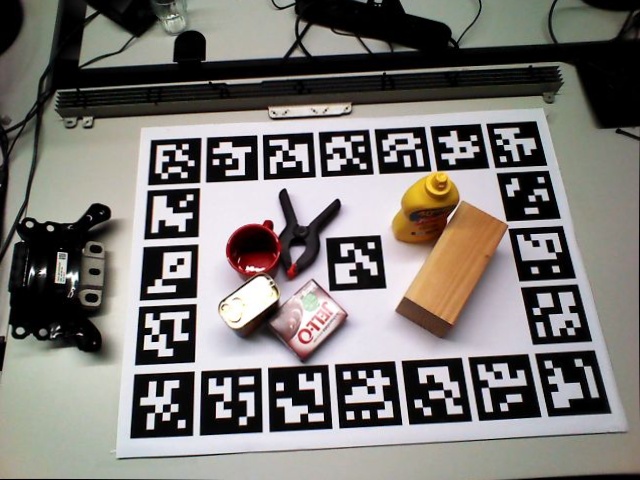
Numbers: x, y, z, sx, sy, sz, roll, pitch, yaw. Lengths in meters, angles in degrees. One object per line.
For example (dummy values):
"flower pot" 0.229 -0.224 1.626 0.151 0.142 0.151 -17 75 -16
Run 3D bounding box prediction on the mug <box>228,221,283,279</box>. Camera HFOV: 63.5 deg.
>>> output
"mug" -0.104 0.018 0.911 0.093 0.082 0.116 18 72 7

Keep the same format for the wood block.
"wood block" 0.237 0.052 0.874 0.090 0.091 0.205 32 70 13

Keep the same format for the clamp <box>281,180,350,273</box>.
"clamp" -0.024 -0.021 0.931 0.122 0.037 0.164 16 72 4

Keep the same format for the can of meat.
"can of meat" -0.110 0.108 0.846 0.101 0.084 0.058 -32 73 -12

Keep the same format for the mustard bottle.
"mustard bottle" 0.191 -0.062 0.858 0.096 0.192 0.058 -7 70 -3

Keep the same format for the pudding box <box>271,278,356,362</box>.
"pudding box" -0.011 0.134 0.866 0.113 0.039 0.090 -41 75 -16
